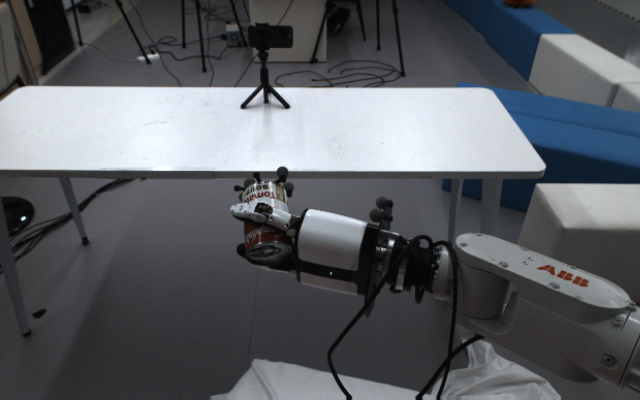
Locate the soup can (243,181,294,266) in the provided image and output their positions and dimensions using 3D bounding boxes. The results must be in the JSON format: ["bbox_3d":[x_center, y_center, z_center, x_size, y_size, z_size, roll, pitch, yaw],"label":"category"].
[{"bbox_3d":[-0.074,0.033,0.684,0.067,0.067,0.101,-5,57,-9],"label":"soup can"}]
